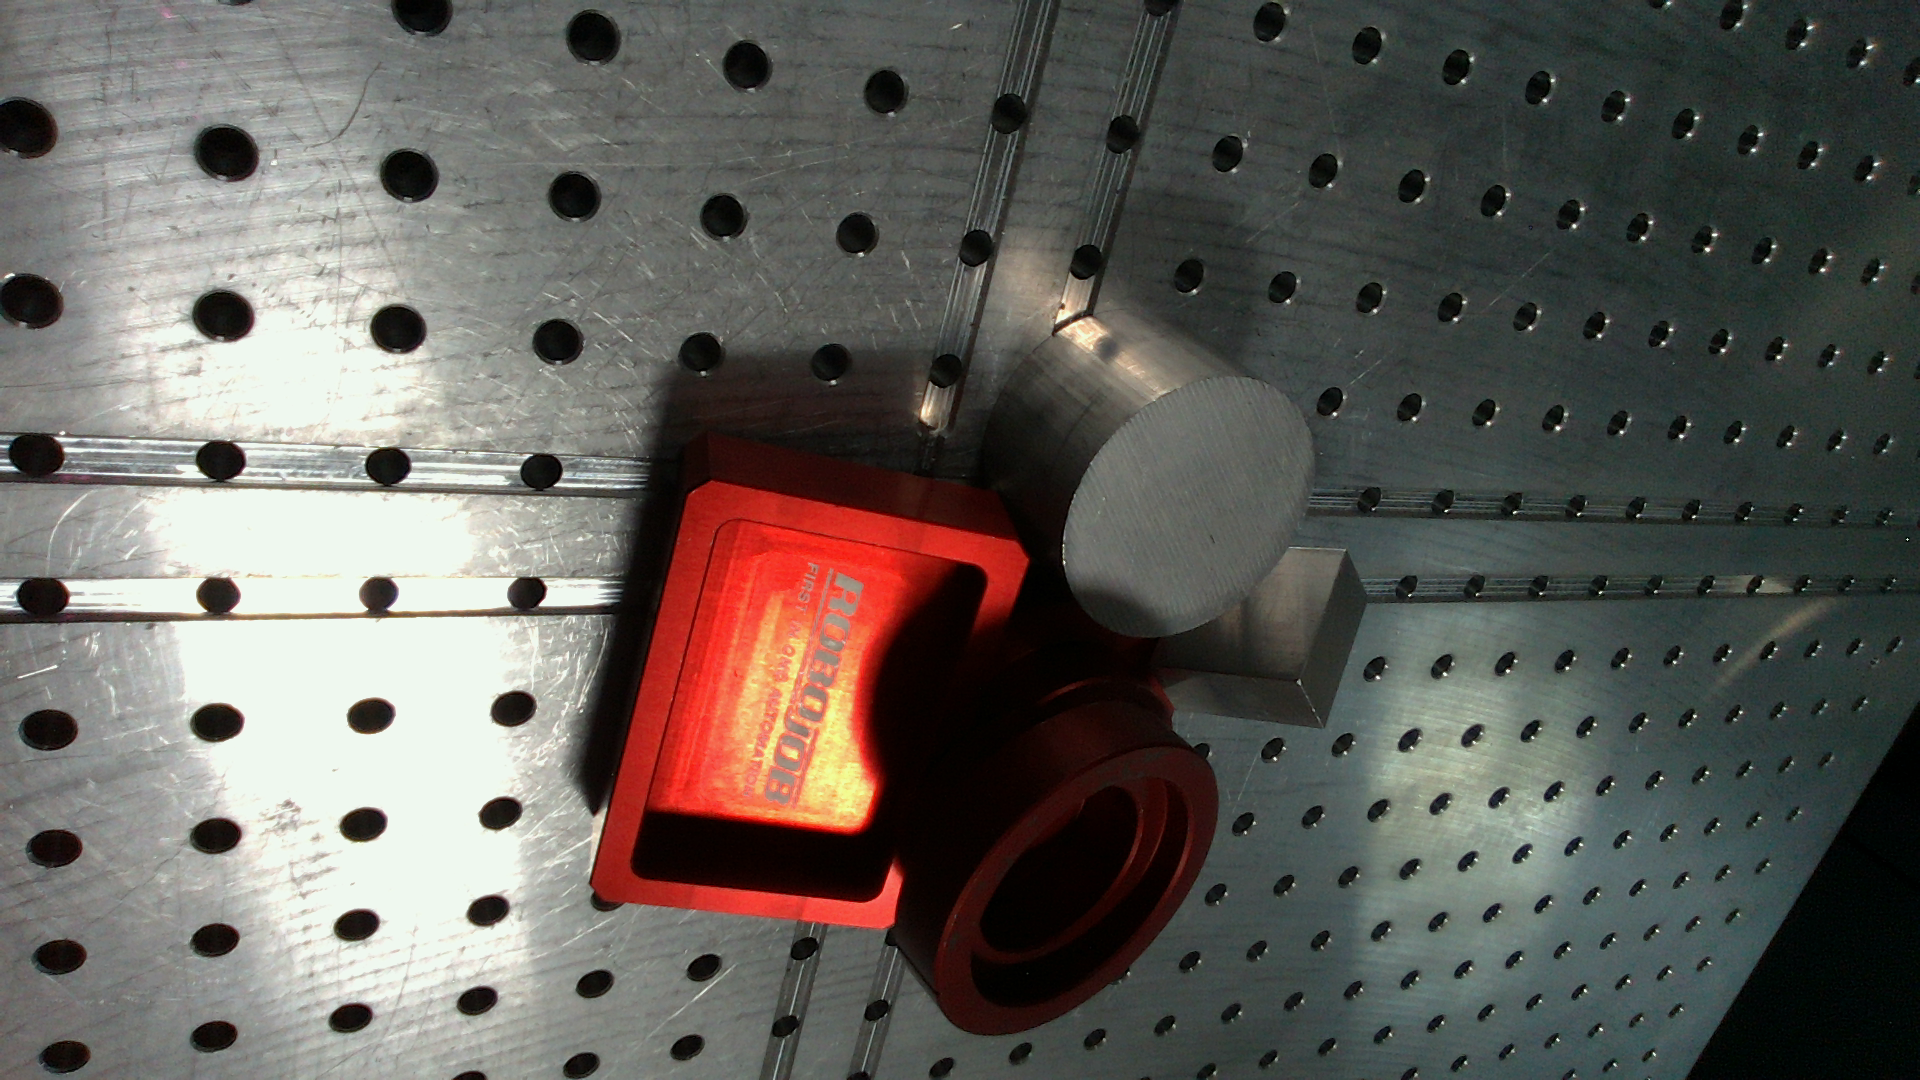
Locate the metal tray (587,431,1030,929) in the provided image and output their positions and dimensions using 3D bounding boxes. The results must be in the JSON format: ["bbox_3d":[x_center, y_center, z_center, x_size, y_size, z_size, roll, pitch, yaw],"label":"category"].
[{"bbox_3d":[-0.044,0.043,0.377,0.090,0.030,0.130,11,113,-17],"label":"metal tray"}]

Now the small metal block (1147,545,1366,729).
[{"bbox_3d":[0.094,0.028,0.432,0.025,0.050,0.050,55,51,-39],"label":"small metal block"}]

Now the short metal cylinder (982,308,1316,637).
[{"bbox_3d":[0.053,-0.020,0.392,0.080,0.050,0.080,-14,124,-21],"label":"short metal cylinder"}]

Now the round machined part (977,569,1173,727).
[{"bbox_3d":[0.028,0.061,0.432,0.098,0.042,0.098,-14,124,-21],"label":"round machined part"}]

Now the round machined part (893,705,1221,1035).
[{"bbox_3d":[0.023,0.086,0.385,0.098,0.042,0.098,-22,132,-27],"label":"round machined part"}]
